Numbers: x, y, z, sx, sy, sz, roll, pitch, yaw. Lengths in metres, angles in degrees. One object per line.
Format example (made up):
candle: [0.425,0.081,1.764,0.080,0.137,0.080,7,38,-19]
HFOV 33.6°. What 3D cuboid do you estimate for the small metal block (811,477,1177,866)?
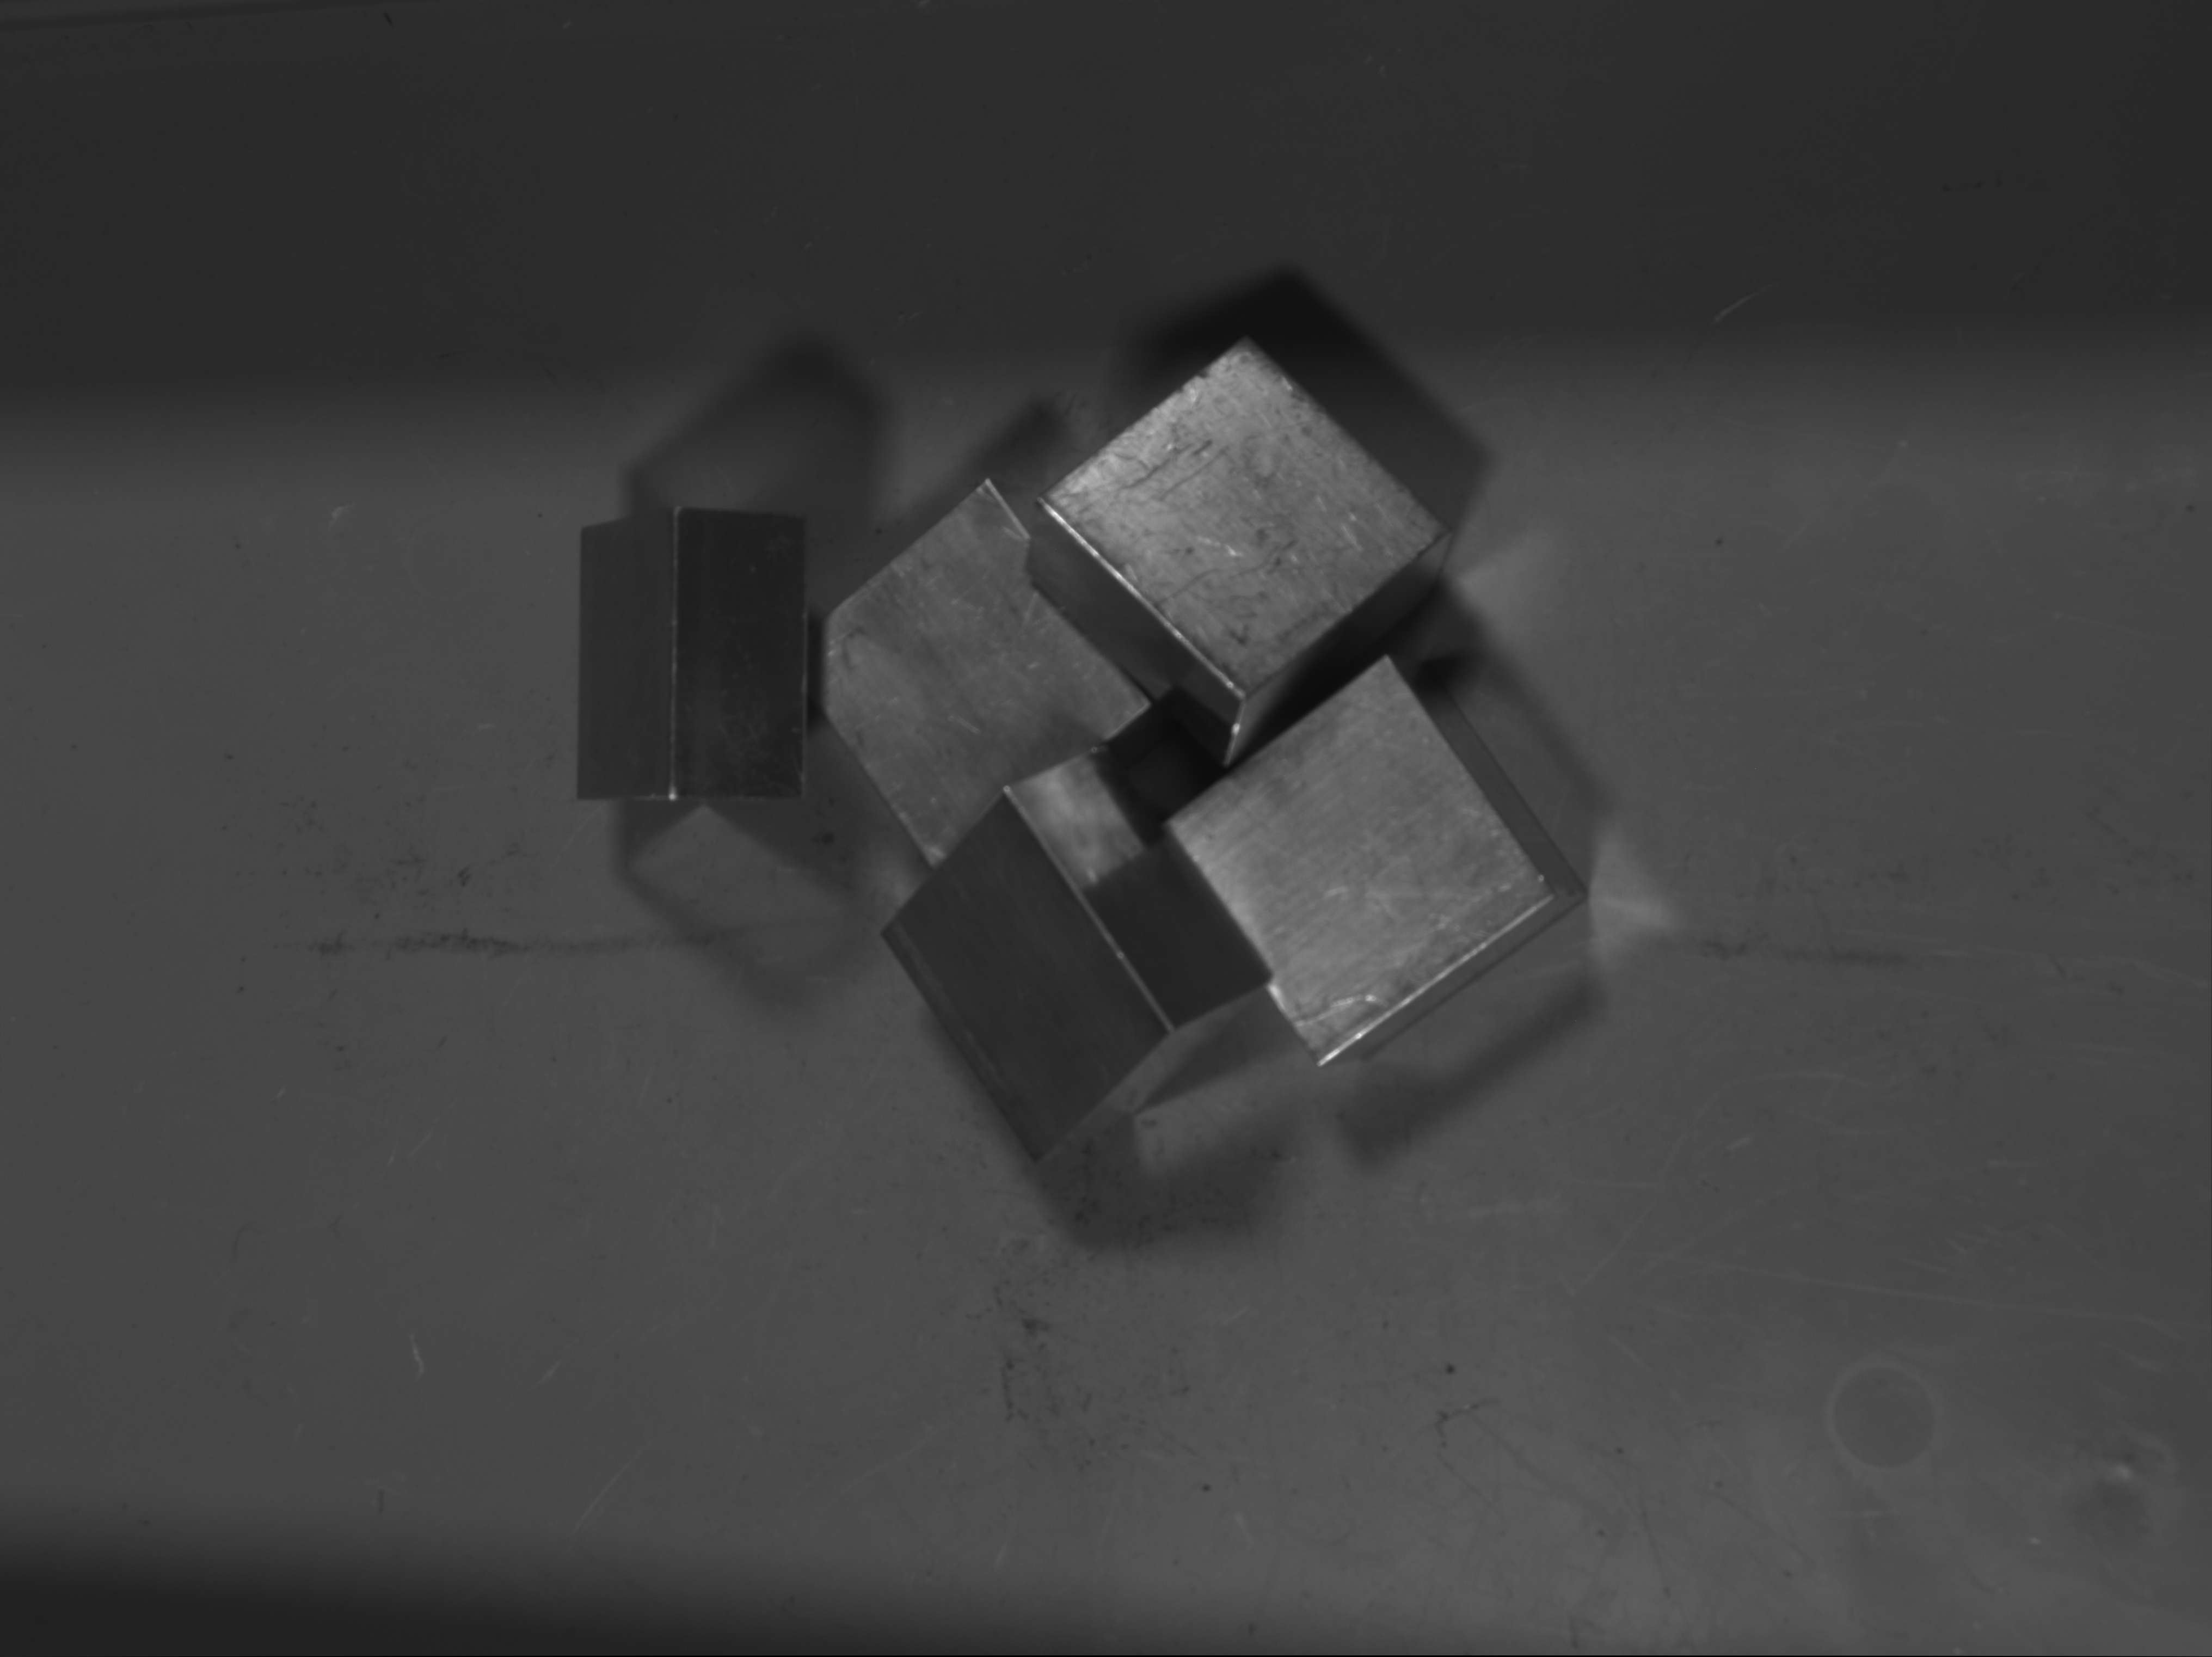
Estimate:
small metal block: [-0.019,-0.026,0.650,0.050,0.025,0.050,-39,78,15]

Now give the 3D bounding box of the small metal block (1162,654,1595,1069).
small metal block: [0.047,0.006,0.626,0.050,0.025,0.050,-37,78,16]

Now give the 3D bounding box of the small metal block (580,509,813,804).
small metal block: [-0.074,-0.030,0.655,0.050,0.025,0.050,0,89,63]

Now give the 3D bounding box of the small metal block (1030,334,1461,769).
small metal block: [0.023,-0.047,0.623,0.050,0.025,0.050,-40,75,-21]

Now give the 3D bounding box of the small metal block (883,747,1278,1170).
small metal block: [-0.005,0.023,0.633,0.050,0.025,0.050,55,137,12]
